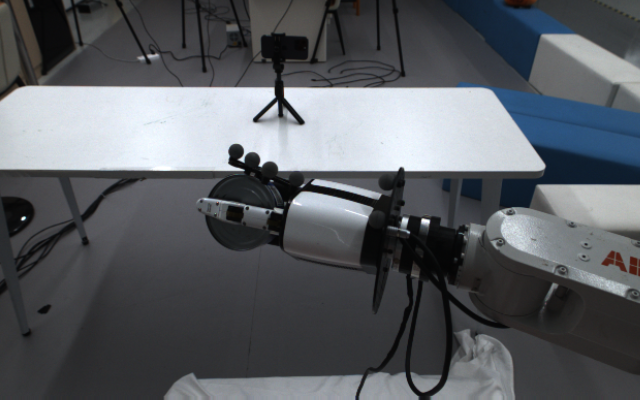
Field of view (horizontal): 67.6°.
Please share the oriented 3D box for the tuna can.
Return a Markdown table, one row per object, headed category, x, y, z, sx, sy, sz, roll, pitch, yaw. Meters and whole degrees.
| category | x | y | z | sx | sy | sz | roll | pitch | yaw |
| --- | --- | --- | --- | --- | --- | --- | --- | --- | --- |
| tuna can | -0.082 | 0.012 | 0.548 | 0.085 | 0.085 | 0.034 | 13 | 2 | 16 |
